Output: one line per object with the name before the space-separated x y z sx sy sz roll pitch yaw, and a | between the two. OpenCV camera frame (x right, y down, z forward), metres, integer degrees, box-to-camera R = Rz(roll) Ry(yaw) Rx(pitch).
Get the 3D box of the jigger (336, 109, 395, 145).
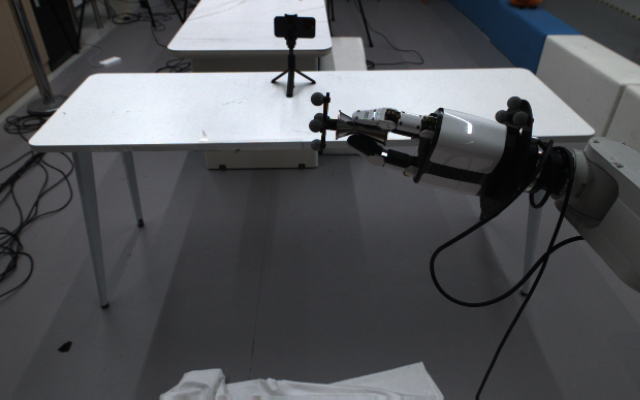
jigger | 0.064 -0.103 0.658 0.071 0.043 0.043 5 35 2
